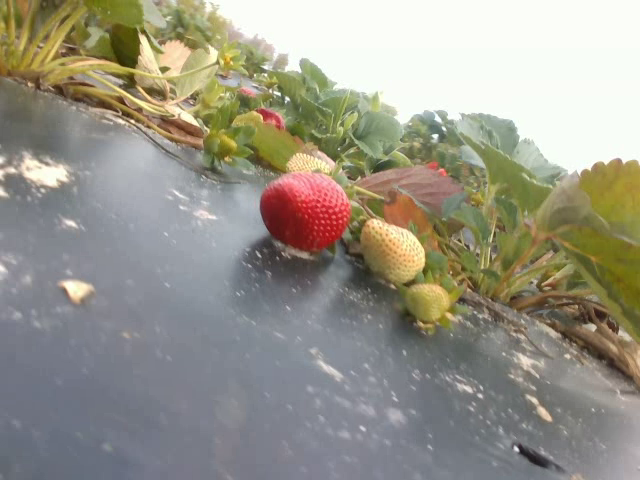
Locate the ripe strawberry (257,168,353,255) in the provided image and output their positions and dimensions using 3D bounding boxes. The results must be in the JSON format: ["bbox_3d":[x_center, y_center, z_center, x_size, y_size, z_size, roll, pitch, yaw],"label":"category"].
[{"bbox_3d":[-0.007,-0.016,0.265,0.050,0.034,0.059,28,0,8],"label":"ripe strawberry"}]
